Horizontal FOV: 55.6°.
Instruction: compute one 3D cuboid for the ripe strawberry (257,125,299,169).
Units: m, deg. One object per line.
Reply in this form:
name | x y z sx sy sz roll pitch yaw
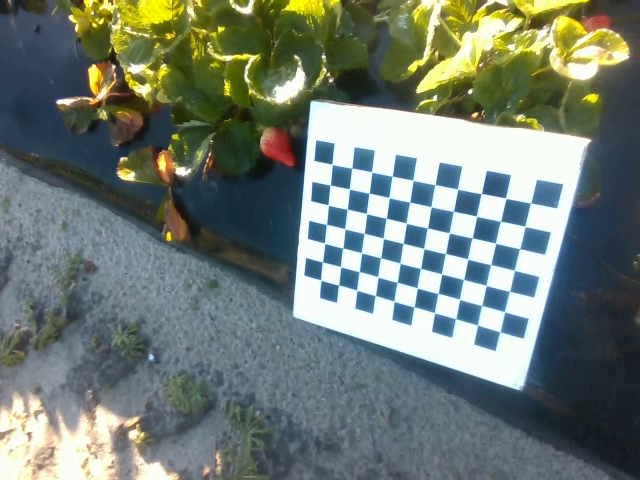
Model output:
ripe strawberry | -0.057 -0.116 0.769 0.040 0.065 0.040 -40 -5 29
